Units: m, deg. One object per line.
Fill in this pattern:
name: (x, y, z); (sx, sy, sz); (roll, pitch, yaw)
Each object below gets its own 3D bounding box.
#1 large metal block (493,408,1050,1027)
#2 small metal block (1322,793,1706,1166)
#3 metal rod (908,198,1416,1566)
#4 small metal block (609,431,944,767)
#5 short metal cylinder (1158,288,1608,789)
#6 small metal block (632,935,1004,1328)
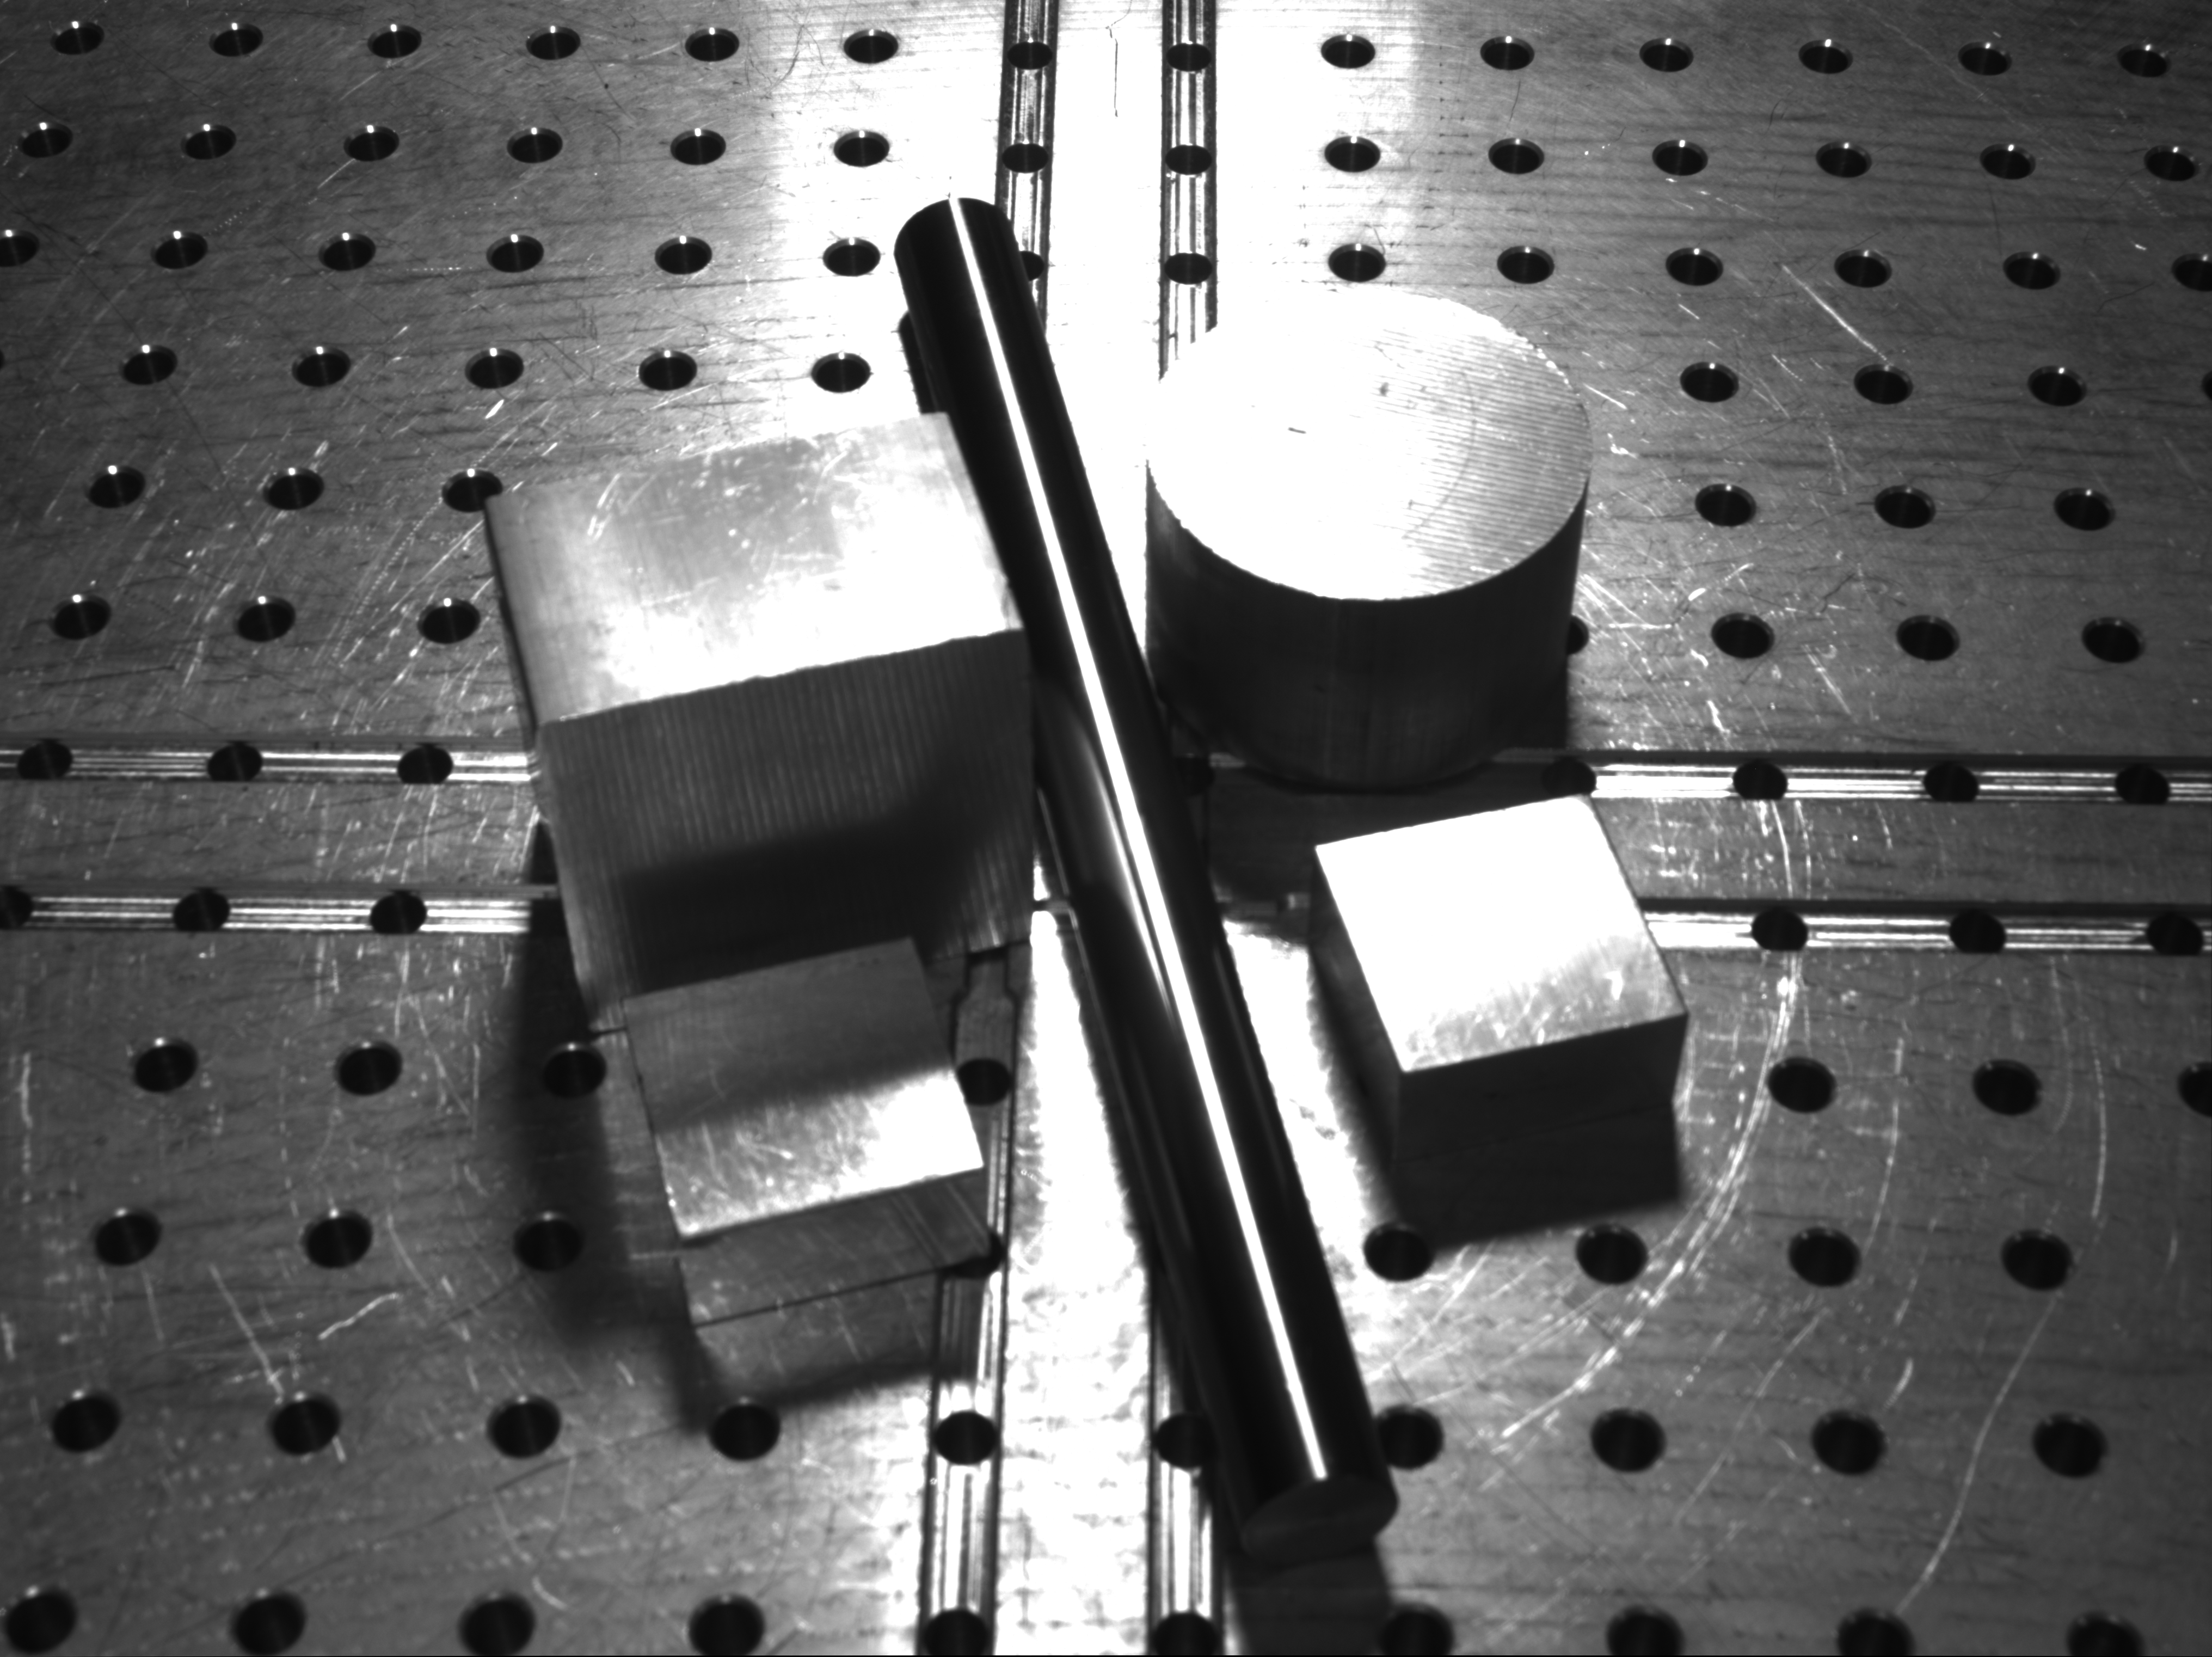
large metal block: (-0.055, -0.018, 0.623); (0.080, 0.080, 0.050); (-12, 51, -10)
small metal block: (0.068, 0.025, 0.624); (0.050, 0.025, 0.050); (-11, 51, -9)
metal rod: (0.004, -0.007, 0.650); (0.025, 0.025, 0.300); (-9, 50, -8)
small metal block: (-0.061, -0.043, 0.682); (0.050, 0.025, 0.050); (-13, 51, -11)
short metal cylinder: (0.050, -0.054, 0.674); (0.080, 0.050, 0.080); (0, 50, 0)
small metal block: (-0.048, 0.049, 0.603); (0.050, 0.025, 0.050); (-12, 51, -10)
